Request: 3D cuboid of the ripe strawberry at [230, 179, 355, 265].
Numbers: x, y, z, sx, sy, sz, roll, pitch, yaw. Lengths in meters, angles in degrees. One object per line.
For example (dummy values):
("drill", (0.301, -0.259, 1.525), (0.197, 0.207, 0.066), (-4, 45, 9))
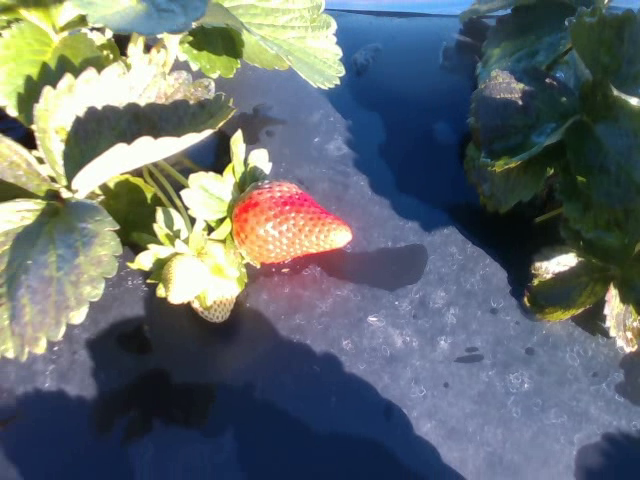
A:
("ripe strawberry", (-0.011, -0.007, 0.285), (0.064, 0.050, 0.052), (10, 7, 18))
